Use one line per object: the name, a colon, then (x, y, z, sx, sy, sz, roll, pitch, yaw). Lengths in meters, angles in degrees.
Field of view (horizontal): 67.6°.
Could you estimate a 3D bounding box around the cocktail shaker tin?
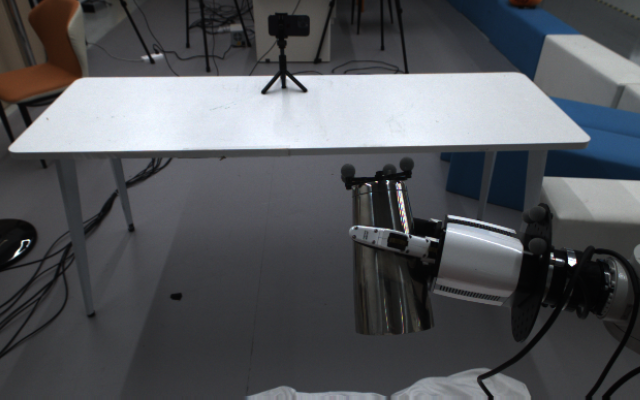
cocktail shaker tin: (0.081, 0.067, 0.577, 0.093, 0.170, 0.093, -6, -7, -1)
